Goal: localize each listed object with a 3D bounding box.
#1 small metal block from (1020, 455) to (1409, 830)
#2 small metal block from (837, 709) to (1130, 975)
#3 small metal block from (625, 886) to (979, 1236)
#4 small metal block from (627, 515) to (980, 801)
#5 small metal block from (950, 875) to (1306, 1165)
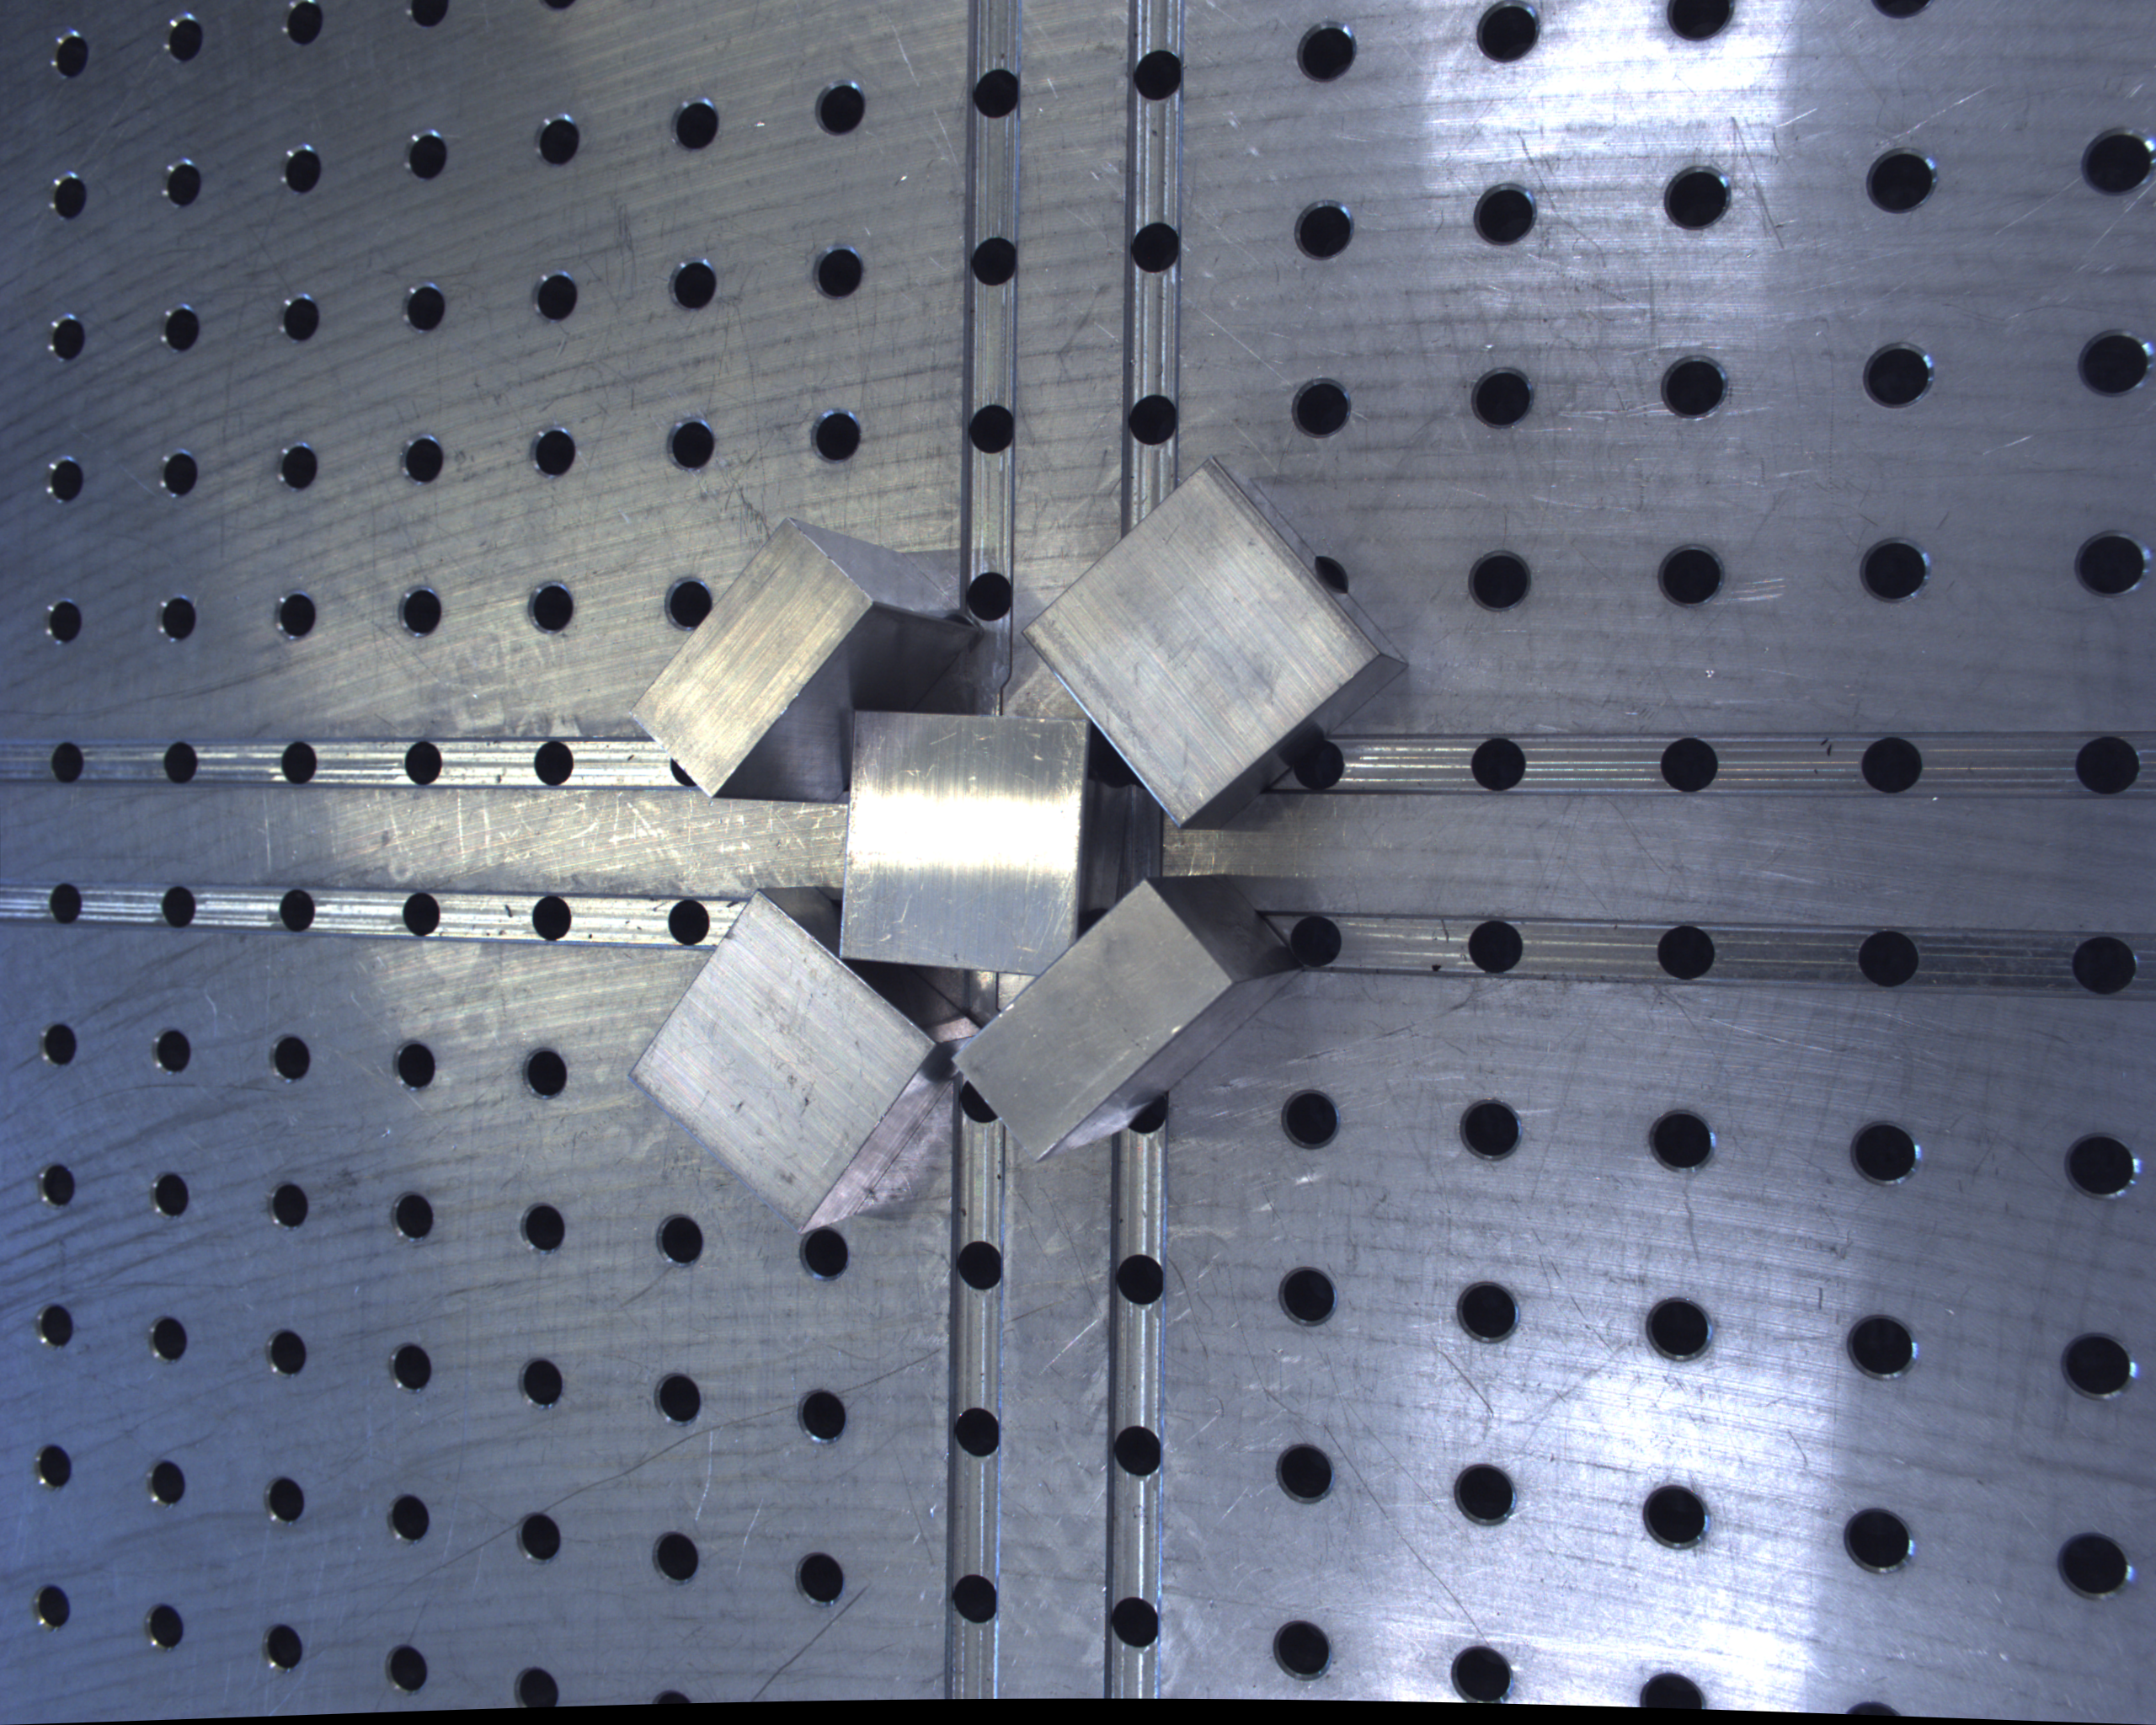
[{"bbox_3d":[0.026,-0.041,0.403,0.050,0.025,0.050,-42,77,15],"label":"small metal block"},{"bbox_3d":[-0.018,-0.004,0.419,0.050,0.025,0.050,4,90,21],"label":"small metal block"},{"bbox_3d":[-0.056,0.040,0.433,0.050,0.025,0.050,40,102,15],"label":"small metal block"},{"bbox_3d":[-0.054,-0.039,0.418,0.025,0.050,0.050,45,105,14],"label":"small metal block"},{"bbox_3d":[0.011,0.028,0.396,0.050,0.050,0.025,-44,76,15],"label":"small metal block"}]
